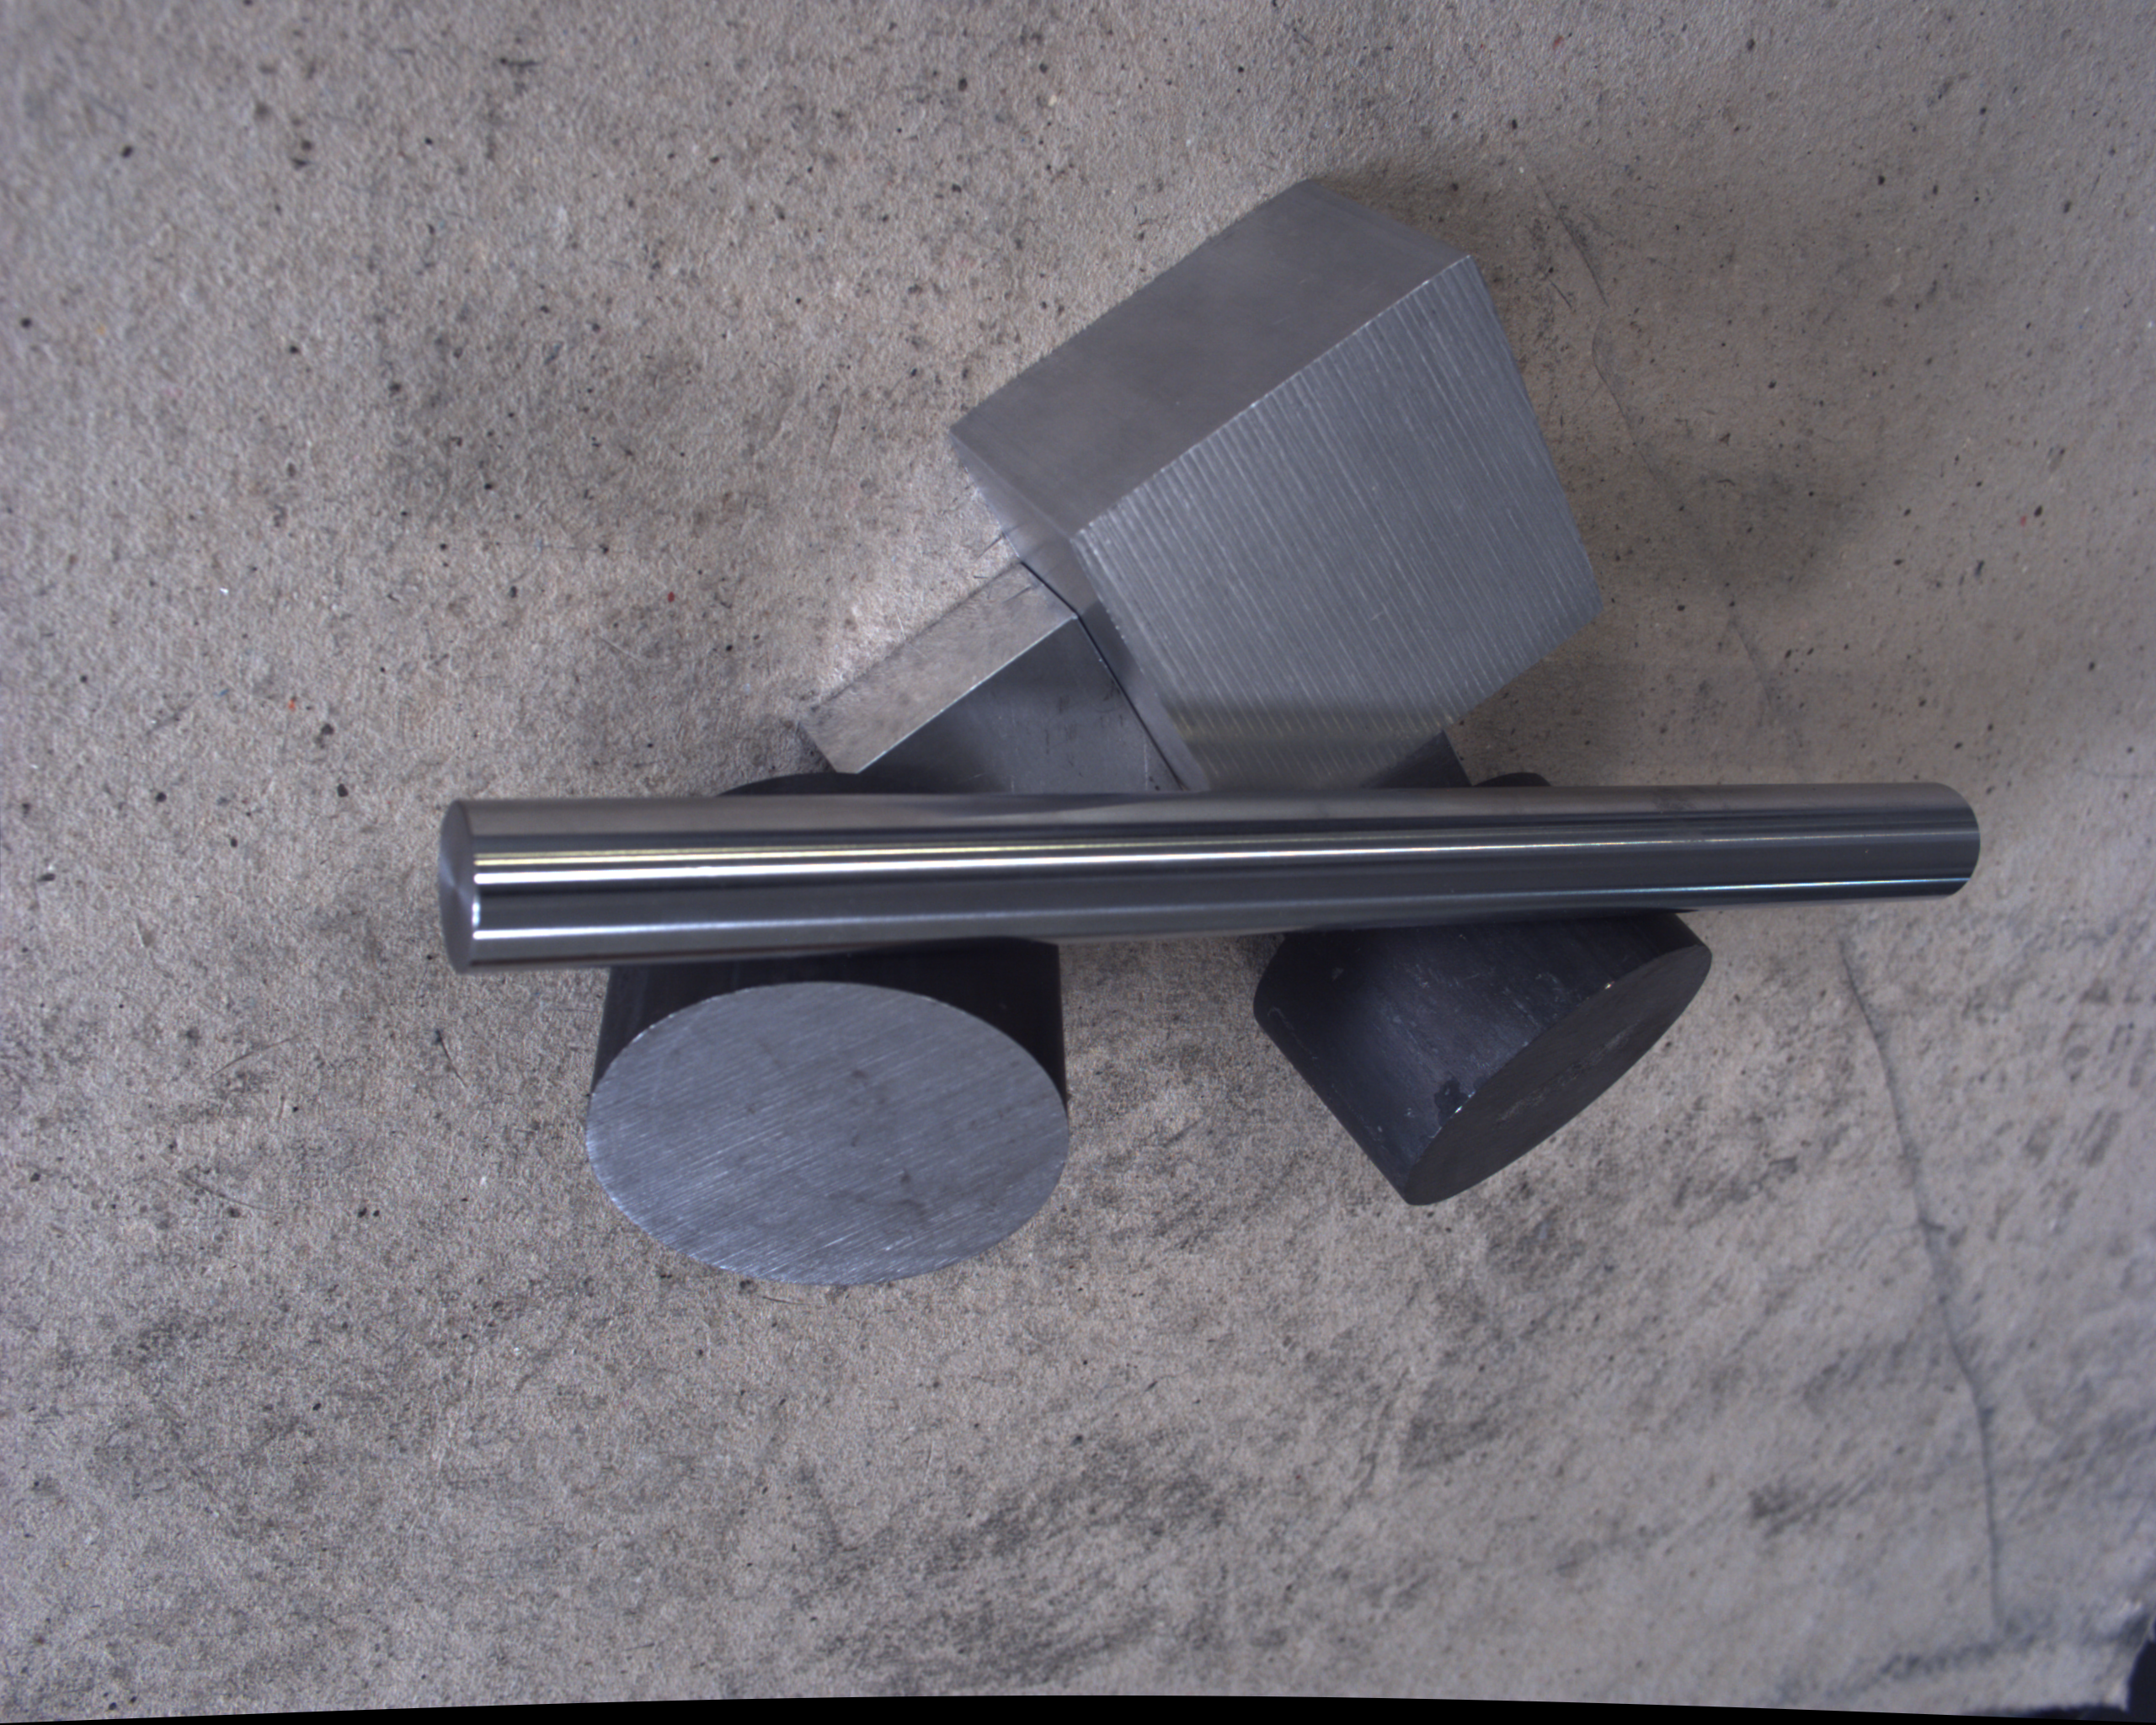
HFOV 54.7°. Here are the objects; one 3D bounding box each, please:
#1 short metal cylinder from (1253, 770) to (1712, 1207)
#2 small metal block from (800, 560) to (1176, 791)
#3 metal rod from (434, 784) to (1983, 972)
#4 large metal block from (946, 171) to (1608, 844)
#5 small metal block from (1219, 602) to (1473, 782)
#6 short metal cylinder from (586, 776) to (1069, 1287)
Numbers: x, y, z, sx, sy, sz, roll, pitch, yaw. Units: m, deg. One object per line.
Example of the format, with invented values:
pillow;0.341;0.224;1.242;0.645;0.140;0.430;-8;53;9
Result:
short metal cylinder;0.084;0.027;0.437;0.080;0.050;0.080;-31;154;-17
small metal block;-0.015;-0.019;0.389;0.050;0.025;0.050;-38;129;-4
metal rod;0.045;-0.001;0.366;0.303;0.025;0.025;-2;119;-28
large metal block;0.037;-0.061;0.372;0.080;0.050;0.080;-36;129;-4
small metal block;0.049;-0.017;0.424;0.050;0.025;0.050;-37;129;-3
short metal cylinder;-0.043;0.031;0.369;0.081;0.050;0.079;-2;133;-2
